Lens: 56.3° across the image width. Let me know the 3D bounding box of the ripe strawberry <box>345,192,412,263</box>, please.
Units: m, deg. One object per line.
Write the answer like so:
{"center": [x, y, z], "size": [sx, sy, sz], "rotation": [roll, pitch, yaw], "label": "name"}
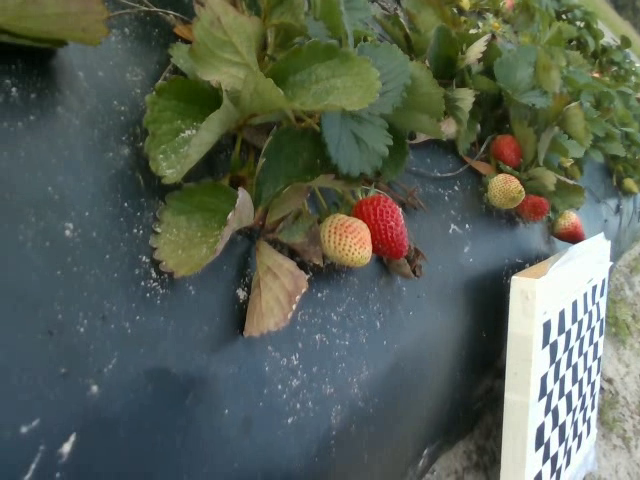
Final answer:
{"center": [0.033, -0.006, 0.310], "size": [0.041, 0.033, 0.034], "rotation": [42, 2, 42], "label": "ripe strawberry"}
